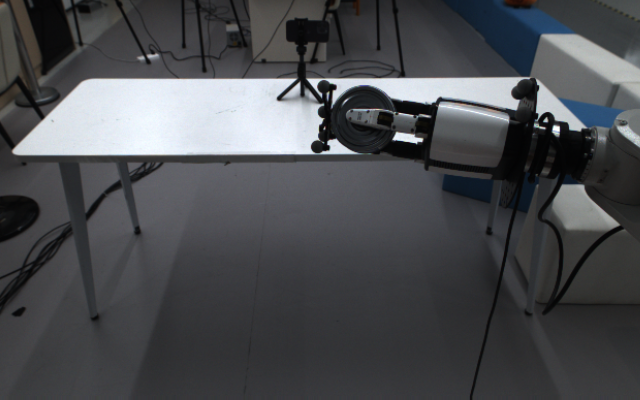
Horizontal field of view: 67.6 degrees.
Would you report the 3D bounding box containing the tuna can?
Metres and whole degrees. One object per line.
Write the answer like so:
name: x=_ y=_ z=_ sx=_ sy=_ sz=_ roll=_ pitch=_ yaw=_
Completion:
tuna can: x=0.060 y=-0.102 z=0.627 sx=0.085 sy=0.085 sz=0.034 roll=10 pitch=2 yaw=11
